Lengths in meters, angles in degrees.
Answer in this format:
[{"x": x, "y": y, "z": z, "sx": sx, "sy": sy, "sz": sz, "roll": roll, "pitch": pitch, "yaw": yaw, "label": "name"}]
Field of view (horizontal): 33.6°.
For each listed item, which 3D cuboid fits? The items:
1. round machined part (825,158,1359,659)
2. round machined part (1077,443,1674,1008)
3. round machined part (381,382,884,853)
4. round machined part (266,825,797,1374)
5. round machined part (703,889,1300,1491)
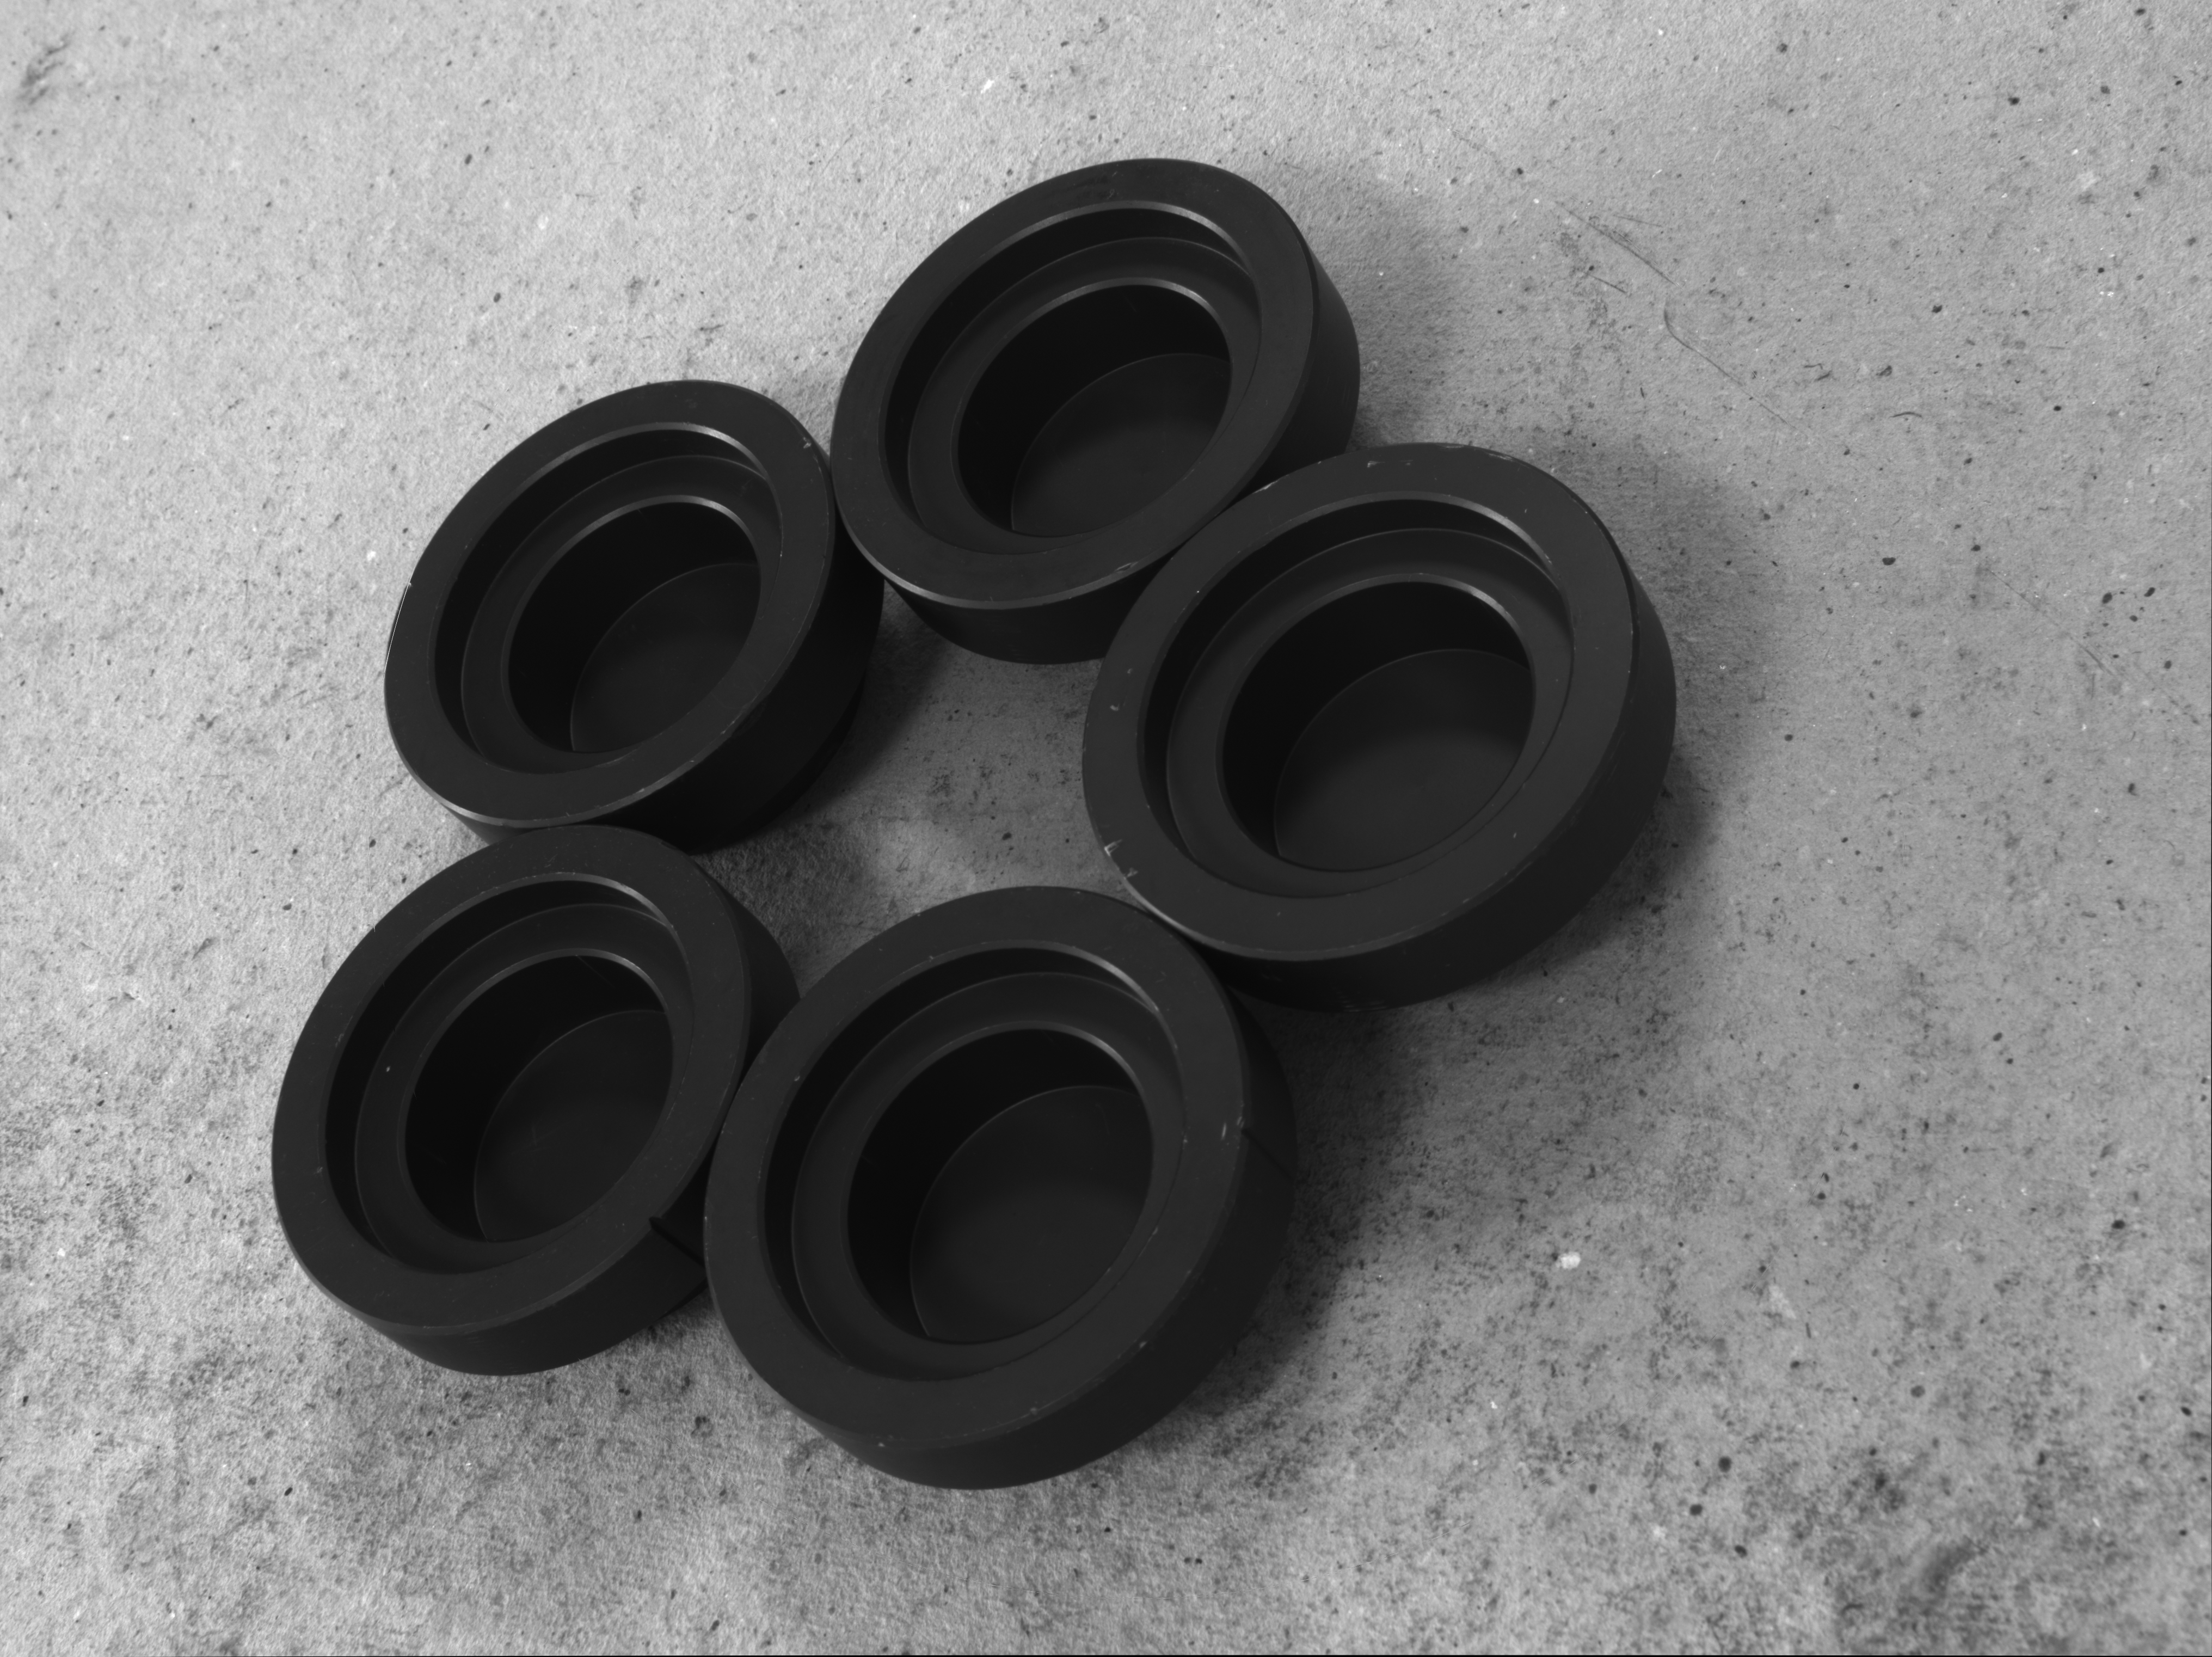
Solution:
[{"x": 0.001, "y": -0.072, "z": 0.677, "sx": 0.098, "sy": 0.042, "sz": 0.098, "roll": -13, "pitch": 55, "yaw": 19, "label": "round machined part"}, {"x": 0.048, "y": -0.013, "z": 0.615, "sx": 0.098, "sy": 0.042, "sz": 0.098, "roll": -13, "pitch": 55, "yaw": 19, "label": "round machined part"}, {"x": -0.086, "y": -0.034, "z": 0.701, "sx": 0.098, "sy": 0.042, "sz": 0.098, "roll": -14, "pitch": 54, "yaw": 20, "label": "round machined part"}, {"x": -0.096, "y": 0.052, "z": 0.653, "sx": 0.098, "sy": 0.042, "sz": 0.098, "roll": -13, "pitch": 55, "yaw": 19, "label": "round machined part"}, {"x": -0.013, "y": 0.062, "z": 0.603, "sx": 0.098, "sy": 0.042, "sz": 0.098, "roll": -13, "pitch": 56, "yaw": 20, "label": "round machined part"}]
